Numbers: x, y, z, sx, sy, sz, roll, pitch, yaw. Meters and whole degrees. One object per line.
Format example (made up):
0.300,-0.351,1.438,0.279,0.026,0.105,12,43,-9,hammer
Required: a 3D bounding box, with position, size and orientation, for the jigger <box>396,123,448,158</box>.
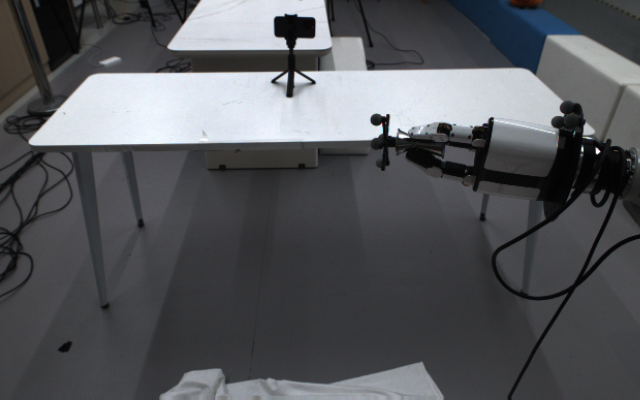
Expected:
0.153,-0.088,0.707,0.071,0.043,0.043,3,34,16,jigger
